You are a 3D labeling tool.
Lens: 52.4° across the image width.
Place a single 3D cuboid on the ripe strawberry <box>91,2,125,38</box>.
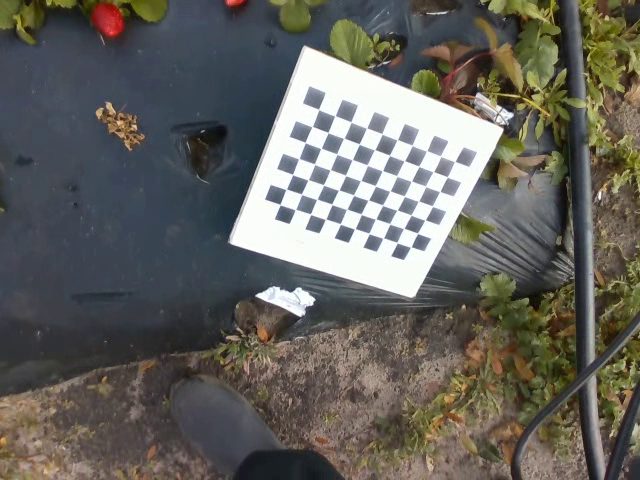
[{"bbox_3d":[-0.258,-0.260,0.775,0.050,0.050,0.046,16,-51,-27],"label":"ripe strawberry"}]
